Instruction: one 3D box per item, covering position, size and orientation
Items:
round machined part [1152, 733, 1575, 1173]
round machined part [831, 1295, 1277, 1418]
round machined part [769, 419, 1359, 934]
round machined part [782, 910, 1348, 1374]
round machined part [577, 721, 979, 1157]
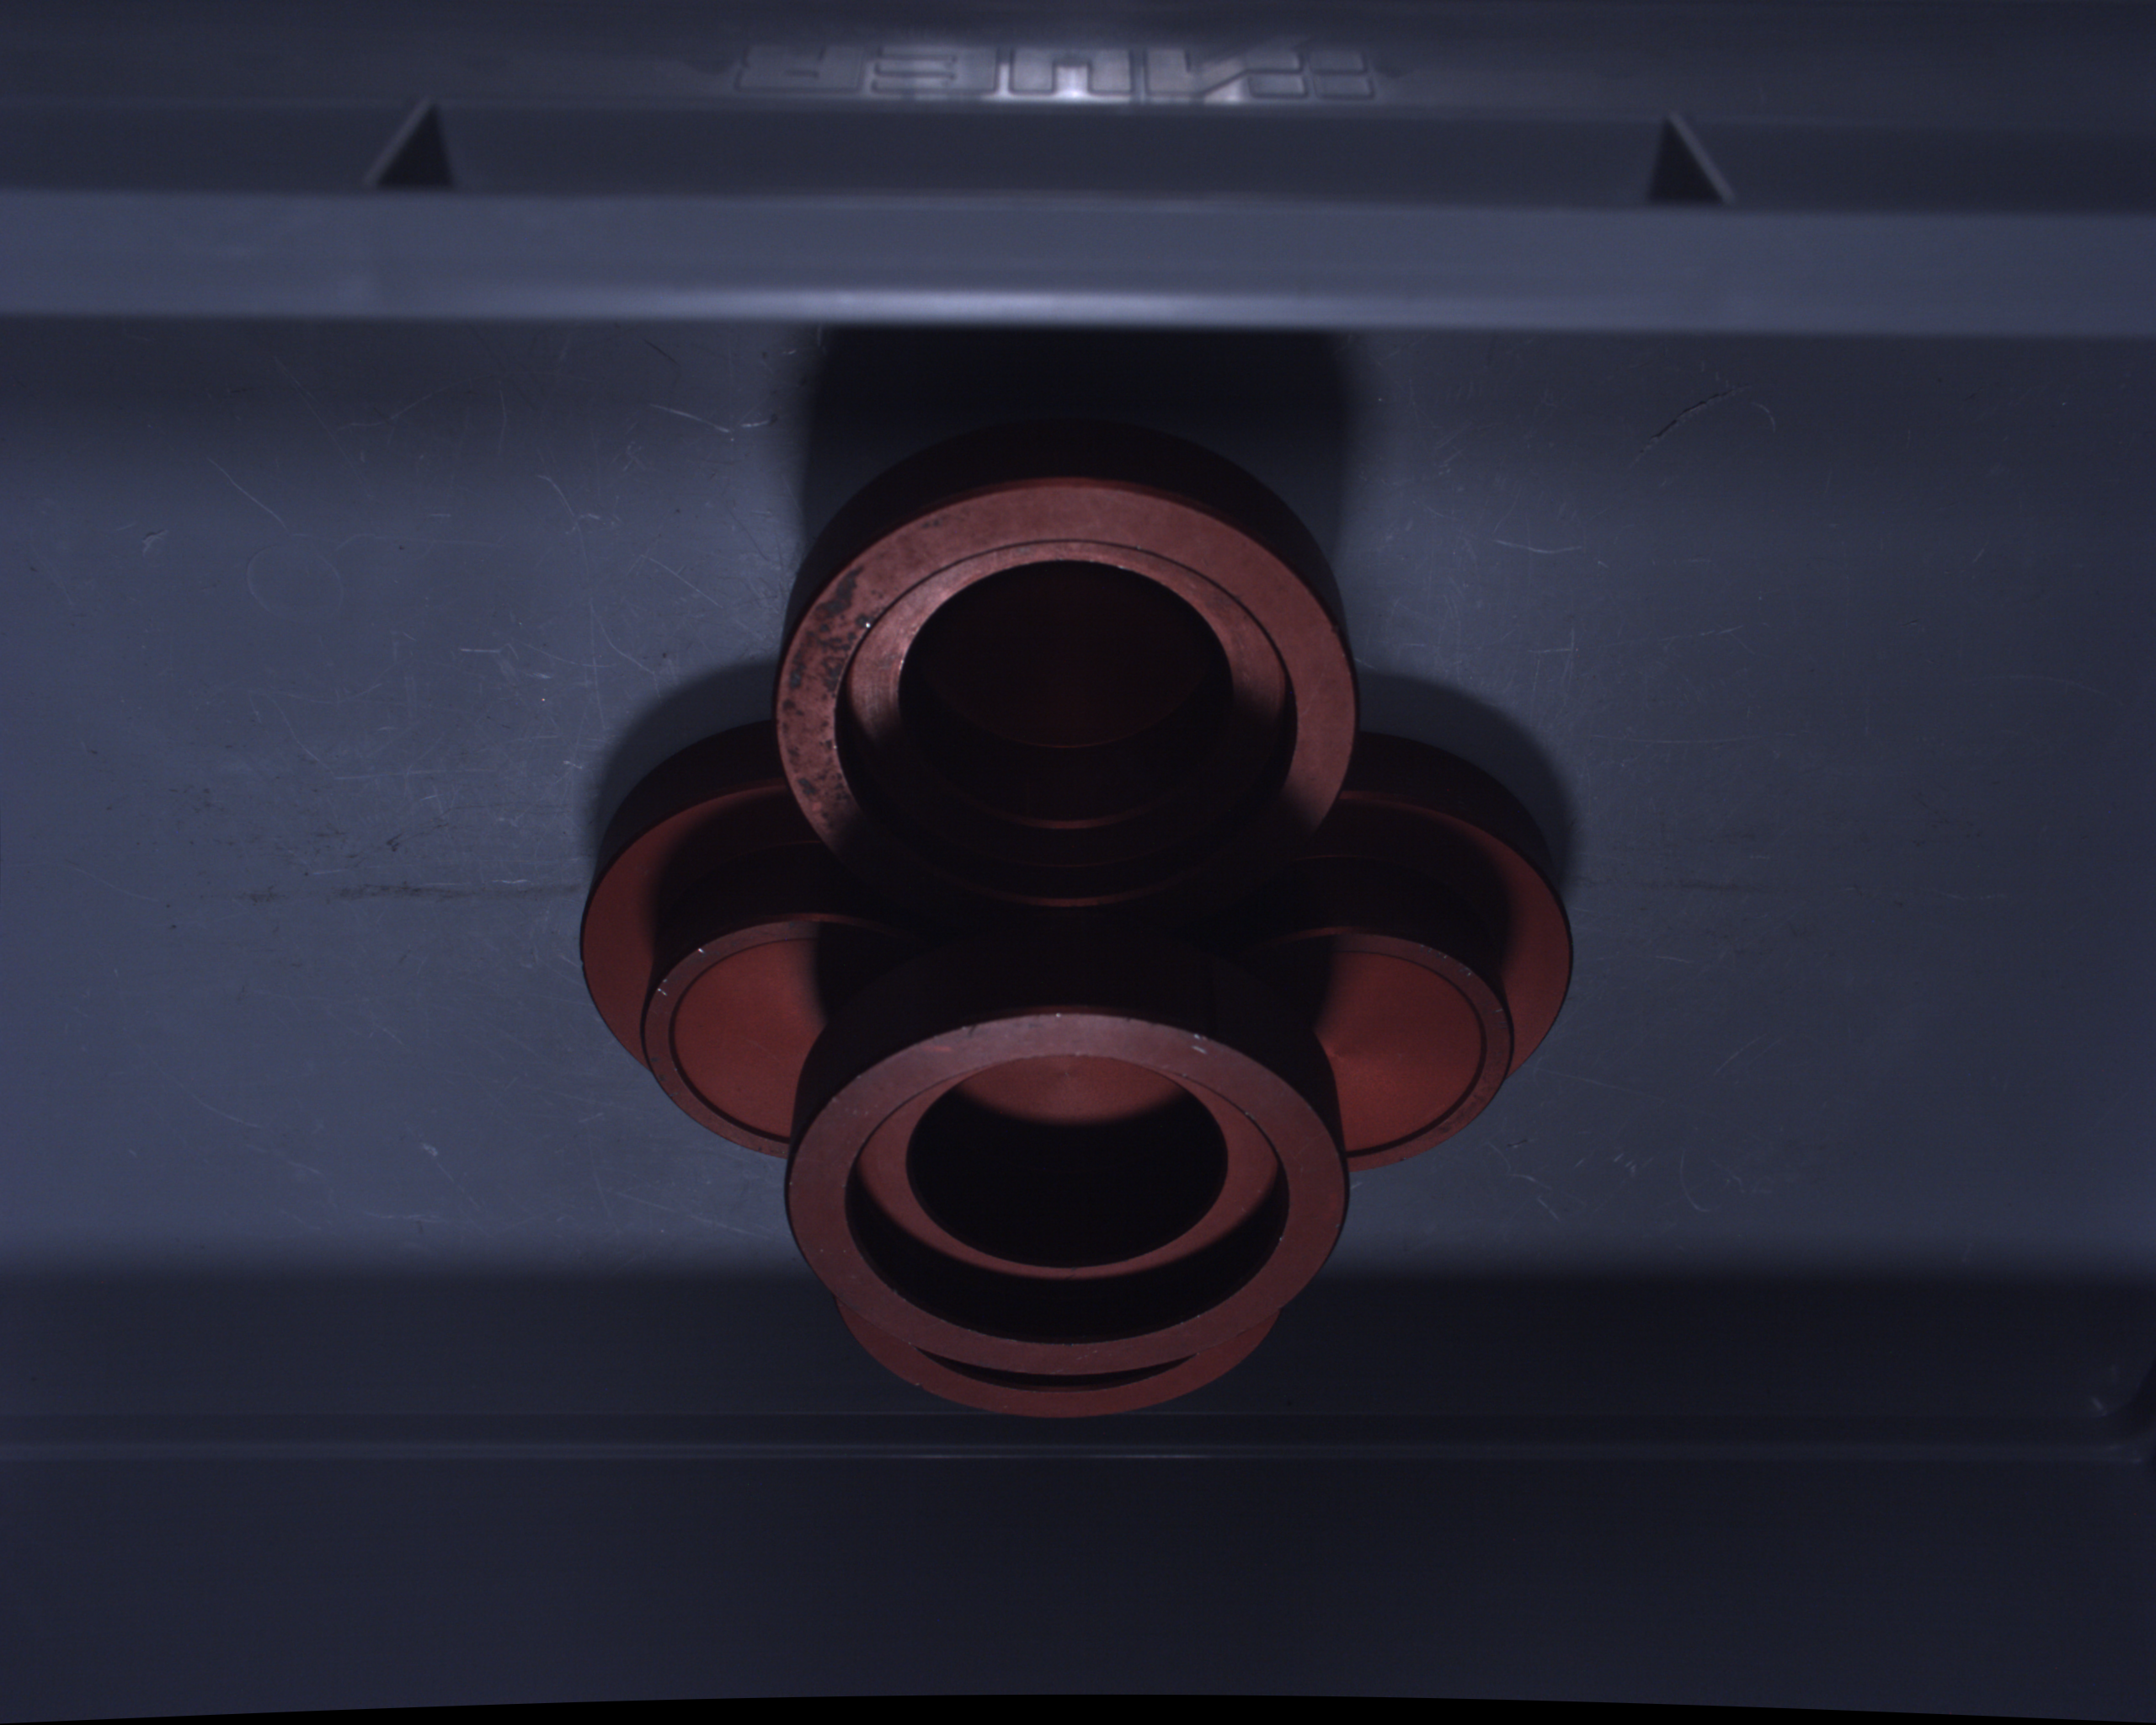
[{"bbox_3d":[0.050,0.025,0.417,0.099,0.042,0.097,-1,130,0],"label":"round machined part"},{"bbox_3d":[-0.004,0.077,0.461,0.099,0.042,0.097,-1,130,0],"label":"round machined part"},{"bbox_3d":[-0.002,-0.034,0.366,0.099,0.042,0.097,-1,130,0],"label":"round machined part"},{"bbox_3d":[-0.002,0.047,0.380,0.099,0.042,0.097,-1,130,0],"label":"round machined part"},{"bbox_3d":[-0.050,0.022,0.414,0.099,0.042,0.097,-1,130,0],"label":"round machined part"}]
